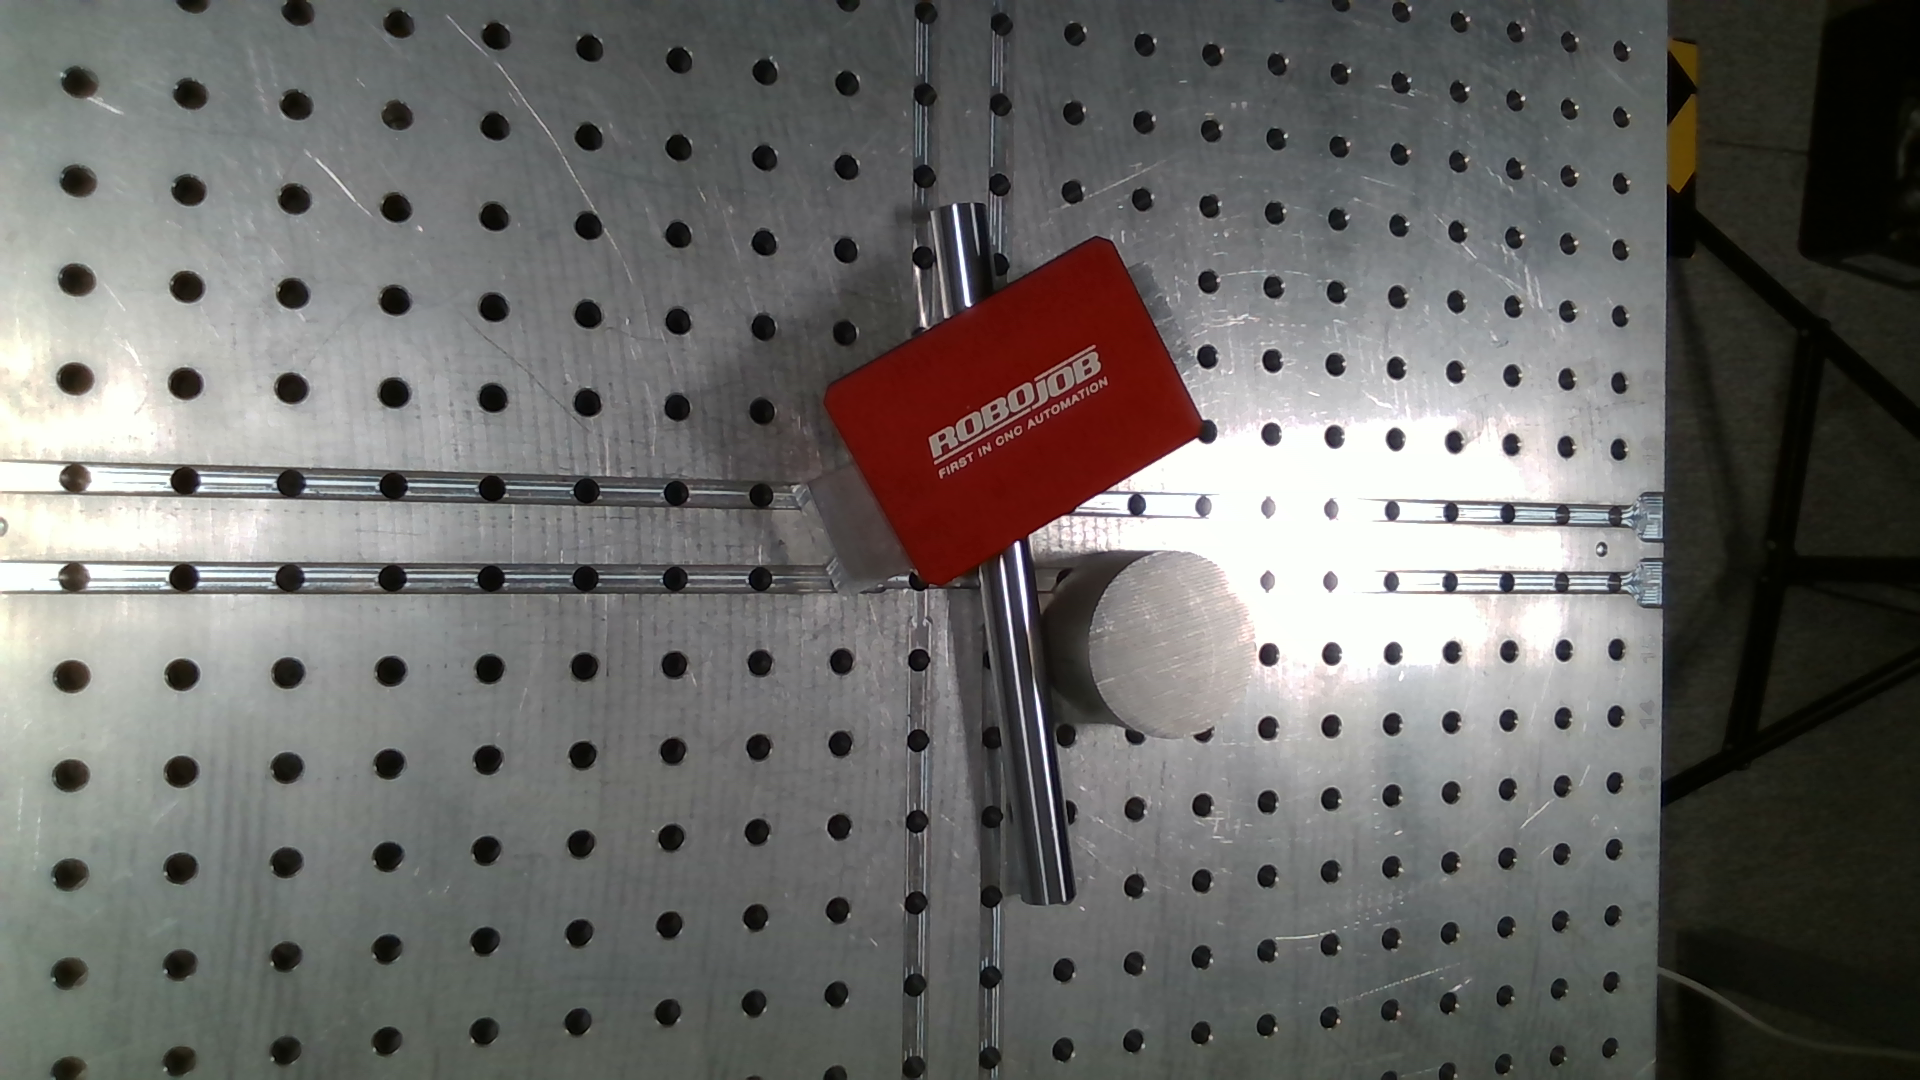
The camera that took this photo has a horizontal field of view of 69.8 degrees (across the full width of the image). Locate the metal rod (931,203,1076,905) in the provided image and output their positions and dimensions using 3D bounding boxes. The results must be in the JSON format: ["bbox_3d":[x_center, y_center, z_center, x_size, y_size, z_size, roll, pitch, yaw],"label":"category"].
[{"bbox_3d":[0.019,0.007,0.596,0.025,0.025,0.300,-9,93,-20],"label":"metal rod"}]

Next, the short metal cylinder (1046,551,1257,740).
[{"bbox_3d":[0.082,0.045,0.605,0.080,0.050,0.080,0,90,-20],"label":"short metal cylinder"}]

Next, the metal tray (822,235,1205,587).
[{"bbox_3d":[0.021,-0.051,0.552,0.130,0.030,0.090,-30,100,-6],"label":"metal tray"}]

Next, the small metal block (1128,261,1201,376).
[{"bbox_3d":[0.072,-0.089,0.601,0.025,0.050,0.050,-34,101,-17],"label":"small metal block"}]

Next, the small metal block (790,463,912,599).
[{"bbox_3d":[-0.036,-0.009,0.574,0.050,0.025,0.050,-25,99,-18],"label":"small metal block"}]
